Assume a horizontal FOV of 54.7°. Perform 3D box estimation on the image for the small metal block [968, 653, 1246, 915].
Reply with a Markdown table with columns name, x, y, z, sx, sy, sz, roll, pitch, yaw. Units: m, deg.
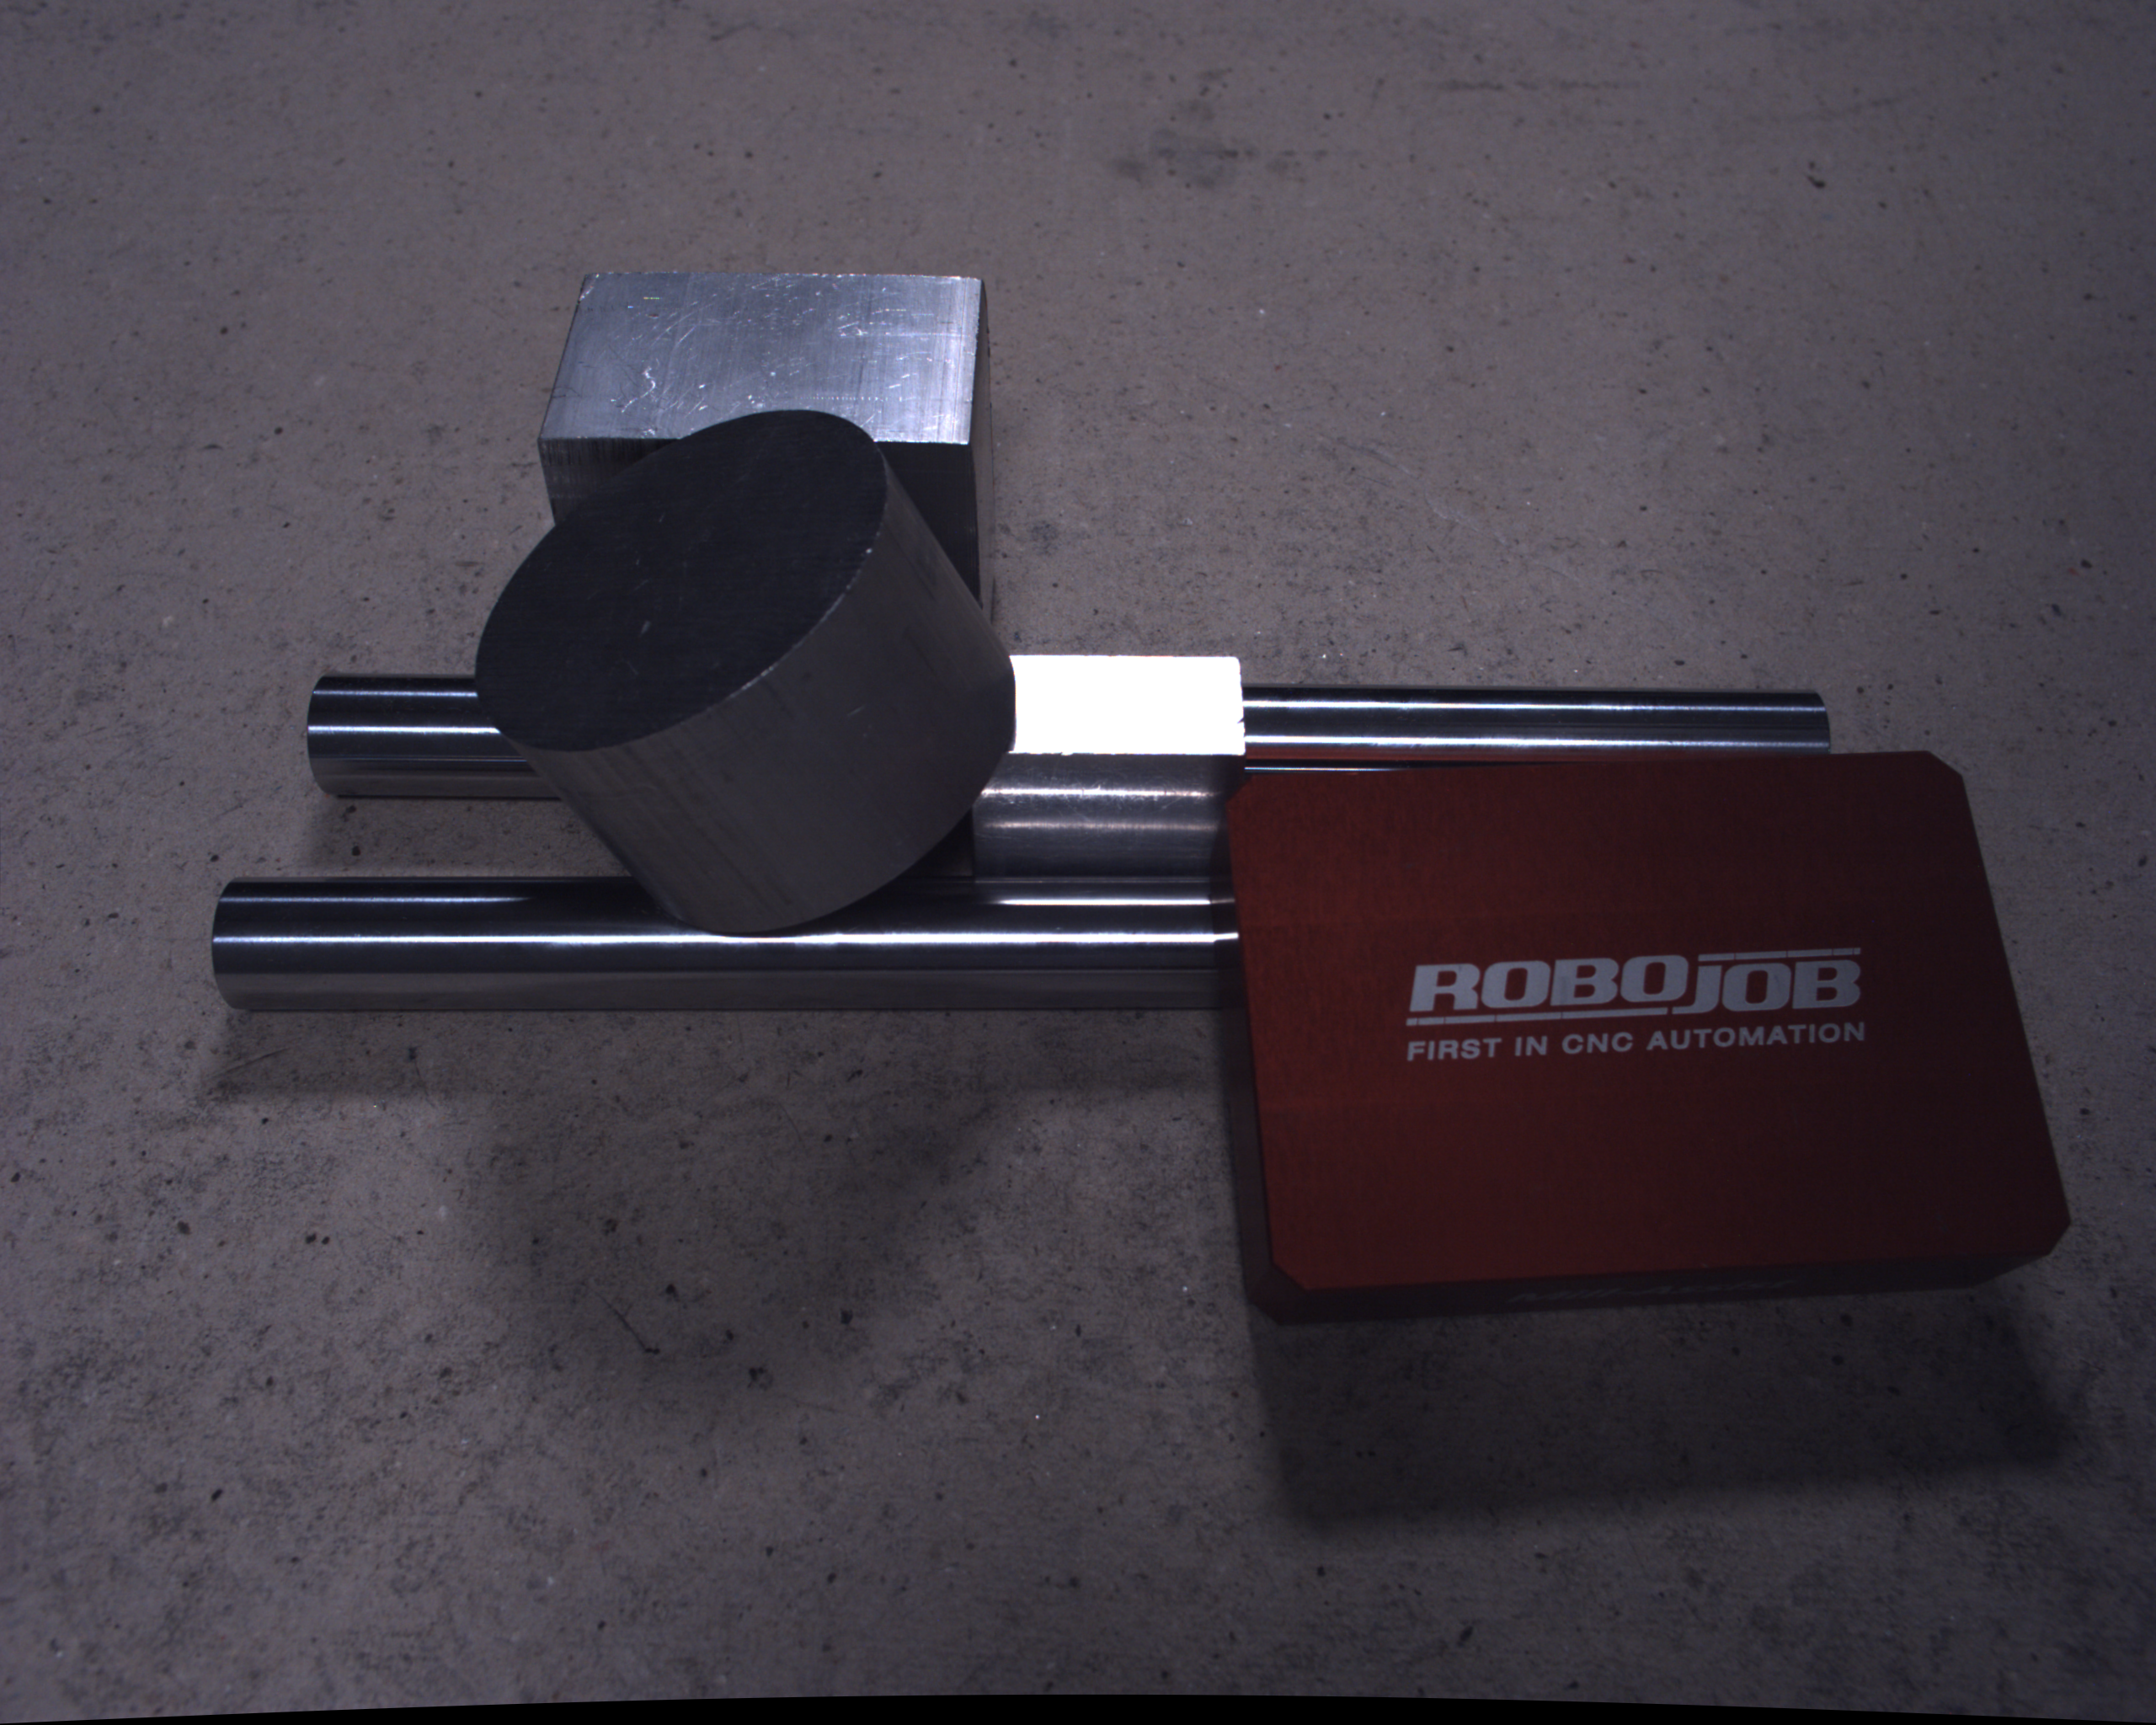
| name | x | y | z | sx | sy | sz | roll | pitch | yaw |
| --- | --- | --- | --- | --- | --- | --- | --- | --- | --- |
| small metal block | 0.005 | -0.014 | 0.399 | 0.050 | 0.050 | 0.025 | 1 | 50 | 0 |

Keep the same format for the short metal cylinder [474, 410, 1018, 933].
| name | x | y | z | sx | sy | sz | roll | pitch | yaw |
| --- | --- | --- | --- | --- | --- | --- | --- | --- | --- |
| short metal cylinder | -0.058 | -0.034 | 0.370 | 0.080 | 0.050 | 0.080 | -16 | 46 | 17 |

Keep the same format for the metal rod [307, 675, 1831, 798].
| name | x | y | z | sx | sy | sz | roll | pitch | yaw |
| --- | --- | --- | --- | --- | --- | --- | --- | --- | --- |
| metal rod | -0.002 | -0.024 | 0.425 | 0.302 | 0.025 | 0.025 | 1 | 50 | 0 |

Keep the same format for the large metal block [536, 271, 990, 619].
| name | x | y | z | sx | sy | sz | roll | pitch | yaw |
| --- | --- | --- | --- | --- | --- | --- | --- | --- | --- |
| large metal block | -0.059 | -0.073 | 0.430 | 0.081 | 0.080 | 0.050 | 1 | 50 | 0 |

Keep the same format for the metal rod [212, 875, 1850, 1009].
| name | x | y | z | sx | sy | sz | roll | pitch | yaw |
| --- | --- | --- | --- | --- | --- | --- | --- | --- | --- |
| metal rod | -0.006 | 0.015 | 0.392 | 0.302 | 0.025 | 0.025 | 0 | 50 | -1 |

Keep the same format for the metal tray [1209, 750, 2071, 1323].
| name | x | y | z | sx | sy | sz | roll | pitch | yaw |
| --- | --- | --- | --- | --- | --- | --- | --- | --- | --- |
| metal tray | 0.092 | 0.029 | 0.360 | 0.131 | 0.030 | 0.090 | -2 | 68 | -4 |
